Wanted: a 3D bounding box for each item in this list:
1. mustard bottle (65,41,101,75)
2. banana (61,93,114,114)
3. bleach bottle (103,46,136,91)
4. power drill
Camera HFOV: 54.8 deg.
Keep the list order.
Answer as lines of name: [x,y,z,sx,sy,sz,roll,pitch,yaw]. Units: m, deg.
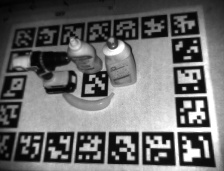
mustard bottle: [-0.104,-0.096,0.738,0.096,0.193,0.058,-2,71,11]
banana: [-0.090,0.063,0.763,0.196,0.039,0.074,1,76,14]
bleach bottle: [0.015,-0.052,0.677,0.102,0.253,0.067,-10,71,9]
power drill: [-0.210,-0.041,0.721,0.184,0.188,0.057,-5,64,8]
